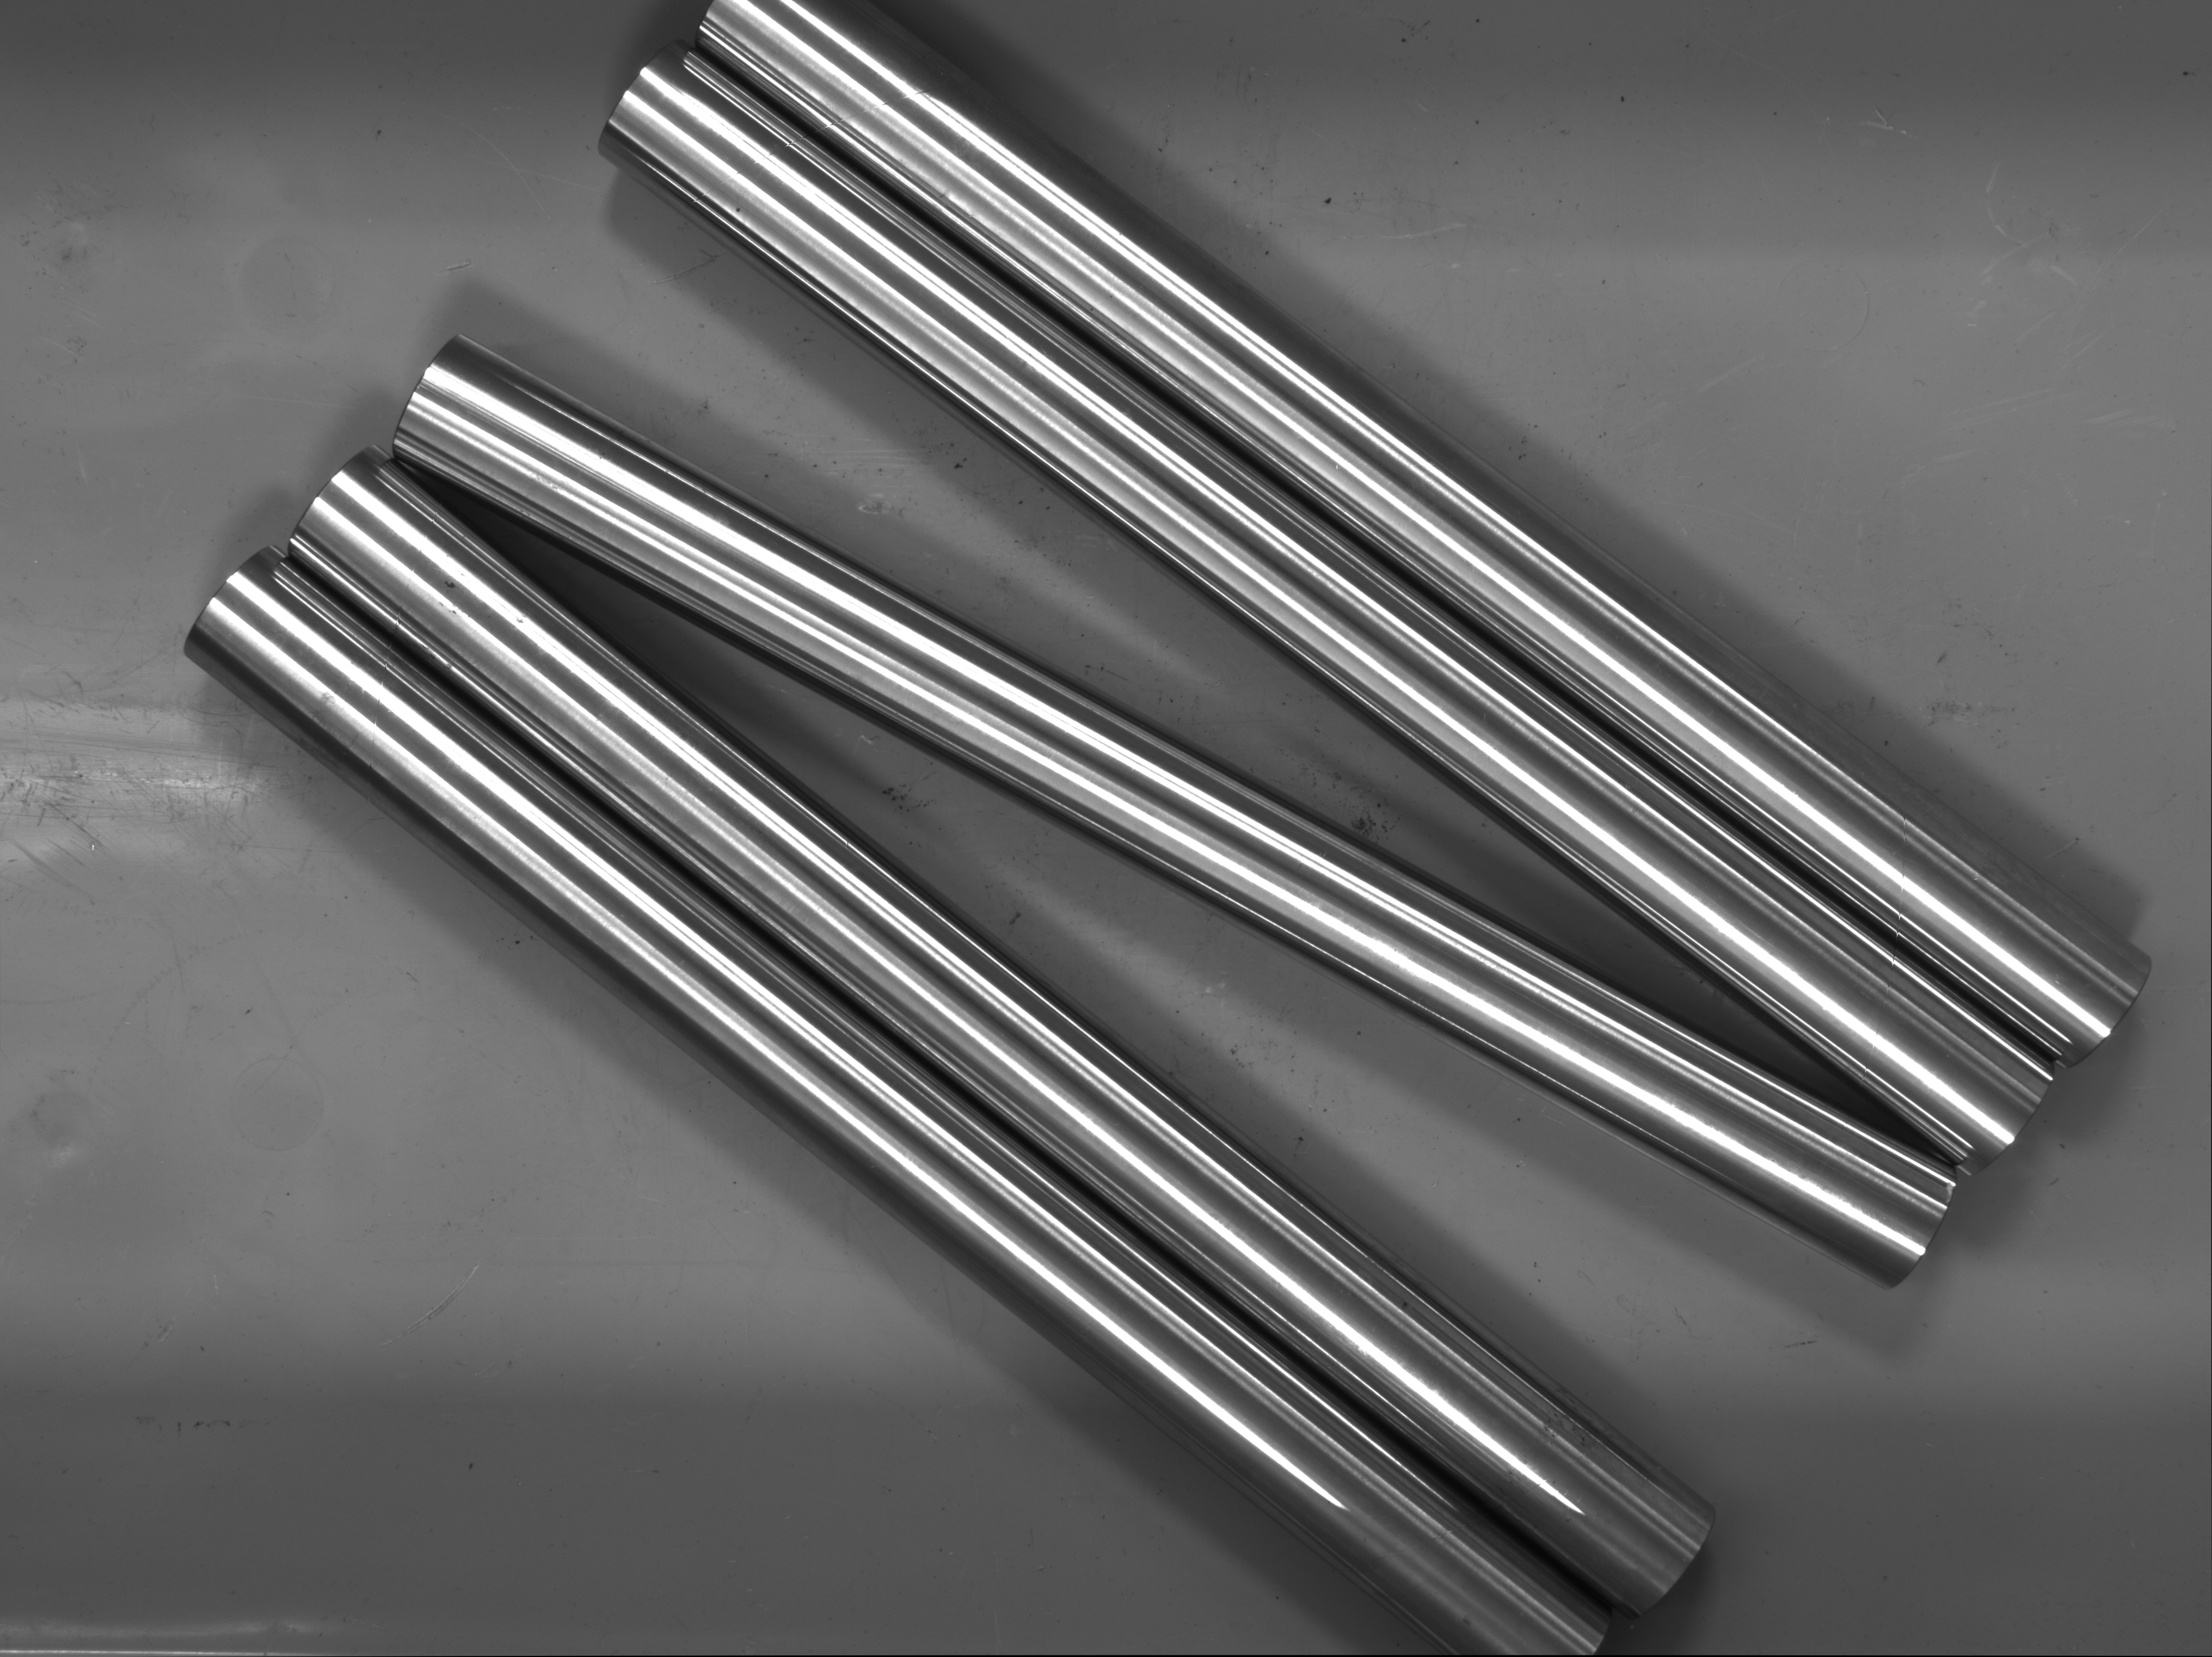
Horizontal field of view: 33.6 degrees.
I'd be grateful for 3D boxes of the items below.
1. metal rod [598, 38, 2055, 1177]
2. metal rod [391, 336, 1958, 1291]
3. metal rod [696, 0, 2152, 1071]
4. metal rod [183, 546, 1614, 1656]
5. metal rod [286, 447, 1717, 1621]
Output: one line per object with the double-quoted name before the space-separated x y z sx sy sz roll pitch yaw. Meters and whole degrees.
"metal rod" 0.039 -0.039 0.644 0.300 0.025 0.025 37 90 0
"metal rod" 0.012 -0.003 0.644 0.300 0.025 0.025 29 90 0
"metal rod" 0.056 -0.057 0.645 0.300 0.025 0.025 37 90 0
"metal rod" -0.036 0.053 0.644 0.300 0.025 0.025 38 90 0
"metal rod" -0.018 0.036 0.644 0.300 0.025 0.025 38 90 0
